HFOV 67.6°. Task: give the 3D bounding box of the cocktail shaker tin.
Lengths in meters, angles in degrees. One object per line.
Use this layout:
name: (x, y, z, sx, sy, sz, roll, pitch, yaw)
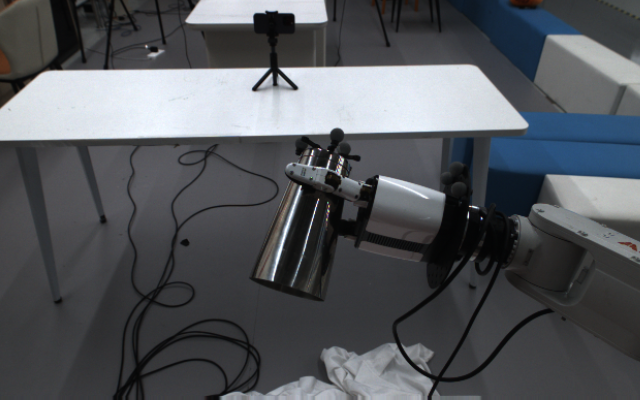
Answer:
cocktail shaker tin: (-0.014, 0.025, 0.590, 0.093, 0.093, 0.170, 12, 72, 14)
